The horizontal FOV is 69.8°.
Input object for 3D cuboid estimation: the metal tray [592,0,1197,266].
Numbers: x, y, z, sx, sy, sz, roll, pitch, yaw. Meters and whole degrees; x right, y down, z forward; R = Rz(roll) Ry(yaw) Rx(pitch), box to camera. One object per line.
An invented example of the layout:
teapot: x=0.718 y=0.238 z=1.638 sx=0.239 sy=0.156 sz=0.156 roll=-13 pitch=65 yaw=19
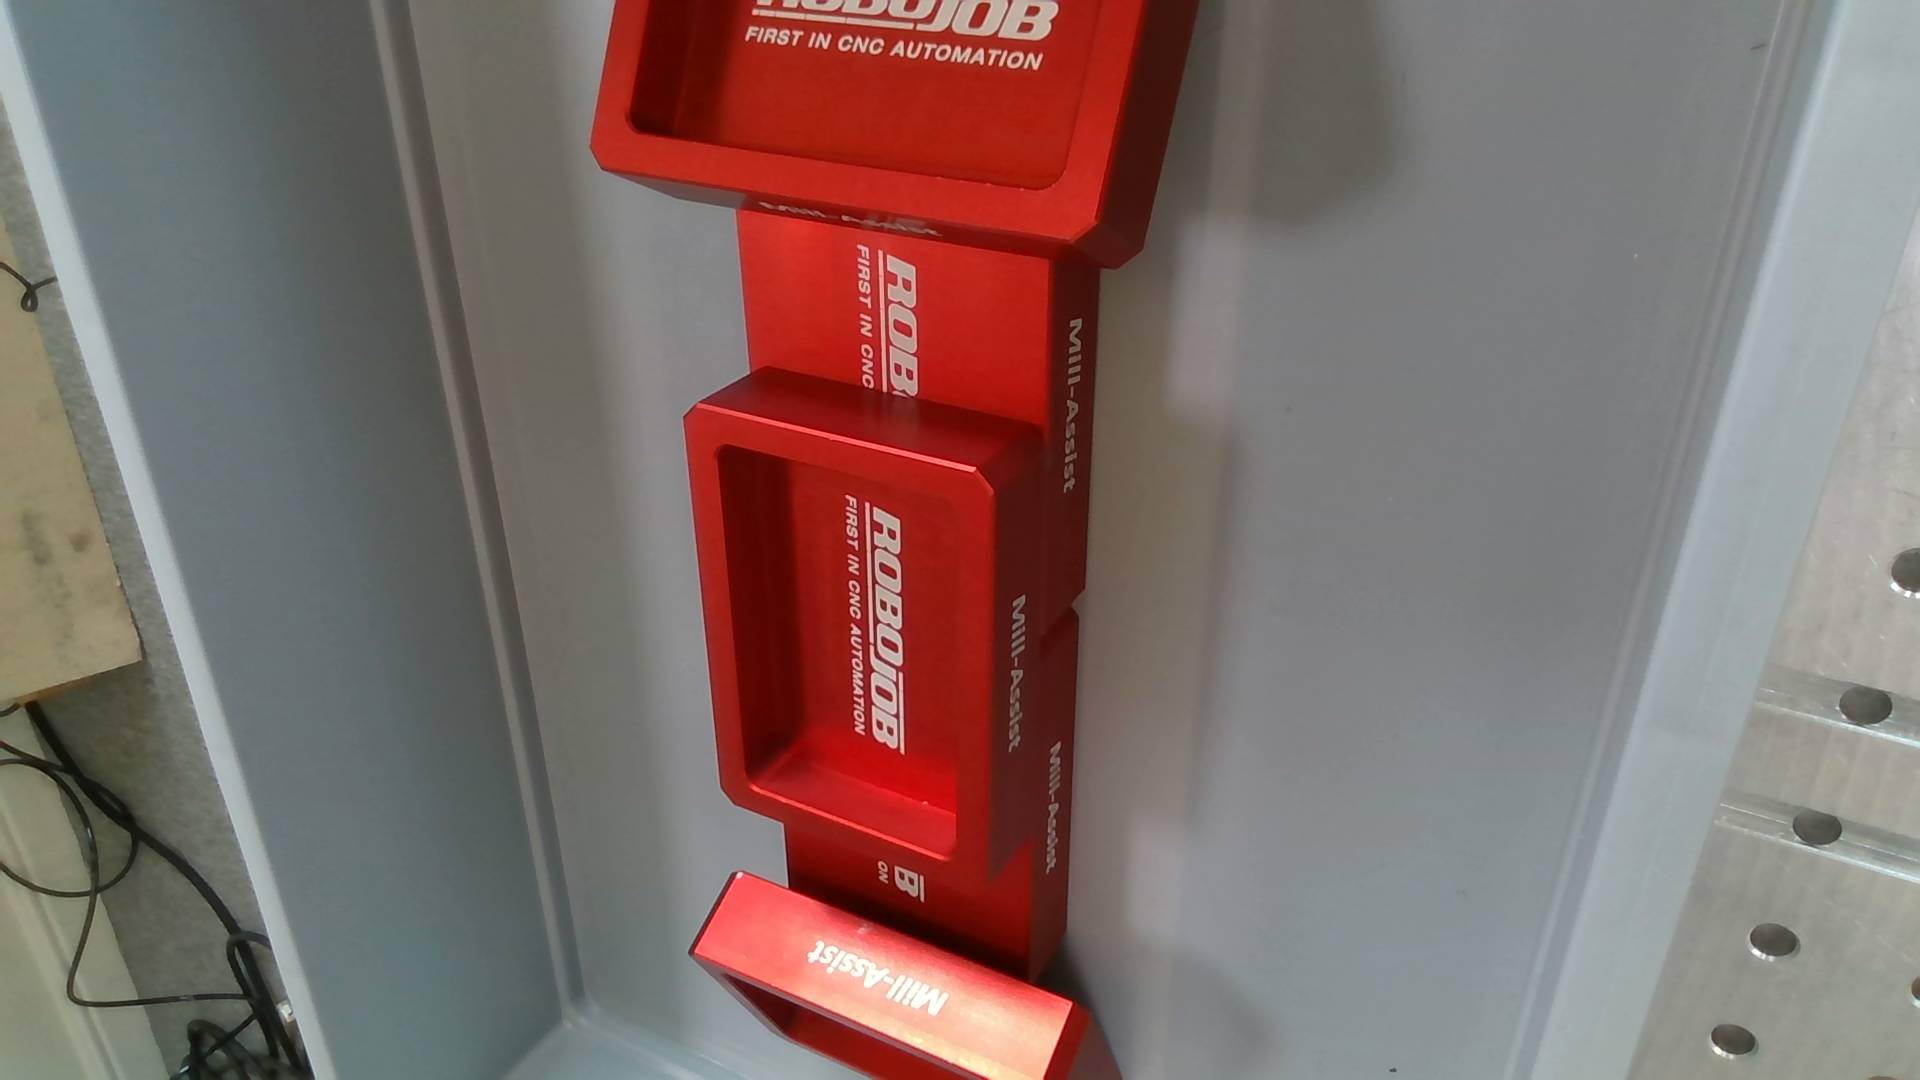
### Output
metal tray: x=-0.015 y=-0.117 z=0.306 sx=0.130 sy=0.030 sz=0.090 roll=15 pitch=97 yaw=25

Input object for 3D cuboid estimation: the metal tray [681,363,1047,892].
metal tray: x=-0.025 y=0.025 z=0.374 sx=0.090 sy=0.030 sz=0.130 roll=14 pitch=122 yaw=24

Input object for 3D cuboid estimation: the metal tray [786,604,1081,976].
metal tray: x=-0.012 y=0.070 z=0.431 sx=0.090 sy=0.030 sz=0.130 roll=14 pitch=122 yaw=25

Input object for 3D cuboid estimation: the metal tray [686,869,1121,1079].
metal tray: x=-0.016 y=0.159 z=0.457 sx=0.130 sy=0.030 sz=0.090 roll=14 pitch=150 yaw=25

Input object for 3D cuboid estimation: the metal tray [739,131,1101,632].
metal tray: x=-0.011 y=-0.045 z=0.368 sx=0.090 sy=0.030 sz=0.130 roll=14 pitch=122 yaw=25
